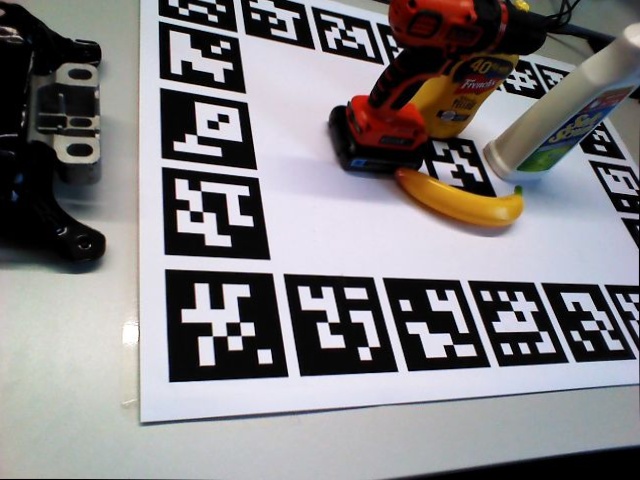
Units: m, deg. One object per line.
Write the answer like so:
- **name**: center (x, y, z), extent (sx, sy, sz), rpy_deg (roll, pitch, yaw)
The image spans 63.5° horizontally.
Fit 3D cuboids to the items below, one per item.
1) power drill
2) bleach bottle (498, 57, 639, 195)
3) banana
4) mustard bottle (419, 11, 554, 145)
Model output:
- **power drill**: center (0.137, -0.164, 0.561), extent (0.184, 0.188, 0.057), rpy_deg (2, 53, -28)
- **bleach bottle**: center (0.349, -0.152, 0.654), extent (0.102, 0.252, 0.067), rpy_deg (-4, 64, -28)
- **banana**: center (0.211, -0.040, 0.638), extent (0.197, 0.039, 0.074), rpy_deg (6, 62, -21)
- **mustard bottle**: center (0.214, -0.200, 0.646), extent (0.096, 0.193, 0.058), rpy_deg (5, 58, -25)
